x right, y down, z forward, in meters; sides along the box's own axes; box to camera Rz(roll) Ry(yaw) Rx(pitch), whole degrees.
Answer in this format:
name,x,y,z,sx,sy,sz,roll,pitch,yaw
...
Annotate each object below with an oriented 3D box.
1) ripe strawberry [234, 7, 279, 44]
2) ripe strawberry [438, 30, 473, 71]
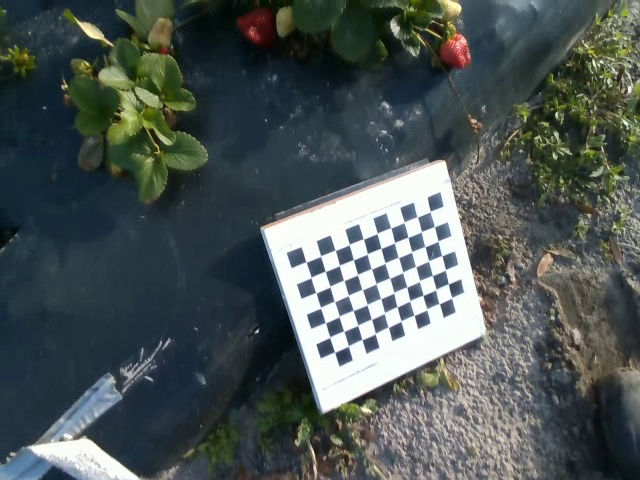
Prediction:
name,x,y,z,sx,sy,sz,roll,pitch,yaw
ripe strawberry,-0.093,-0.300,1.193,0.057,0.058,0.070,2,13,40
ripe strawberry,0.202,-0.269,1.227,0.047,0.050,0.034,-42,16,-14
